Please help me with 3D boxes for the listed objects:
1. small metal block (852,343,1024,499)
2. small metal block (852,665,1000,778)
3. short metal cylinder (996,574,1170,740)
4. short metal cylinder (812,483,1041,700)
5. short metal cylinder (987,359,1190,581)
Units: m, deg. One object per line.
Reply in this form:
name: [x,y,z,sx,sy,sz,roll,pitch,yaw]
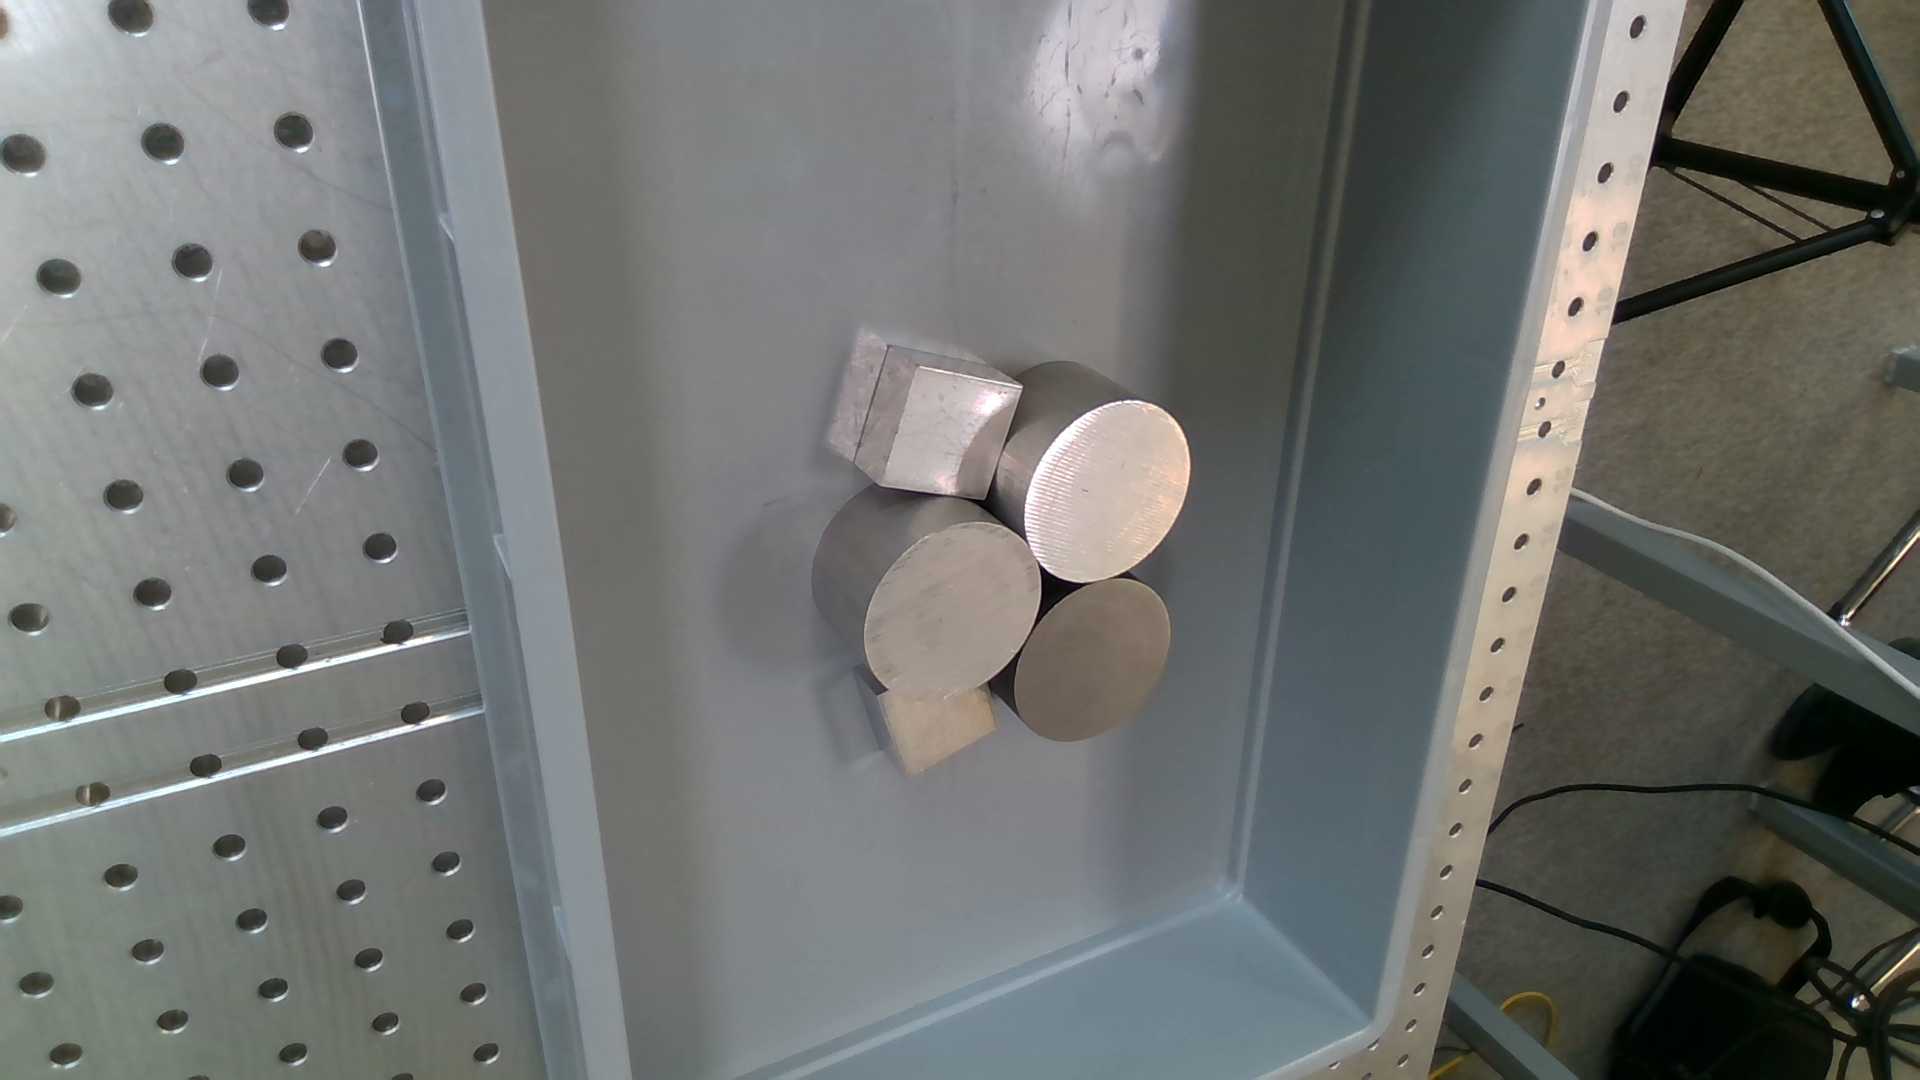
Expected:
small metal block: [-0.009,-0.047,0.549,0.050,0.025,0.050,7,111,-34]
small metal block: [-0.014,0.069,0.609,0.050,0.025,0.050,-27,126,-17]
short metal cylinder: [0.046,0.042,0.615,0.080,0.050,0.080,-14,122,-25]
short metal cylinder: [-0.014,0.018,0.565,0.080,0.050,0.080,-14,122,-25]
short metal cylinder: [0.049,-0.030,0.578,0.080,0.050,0.080,-14,122,-25]
